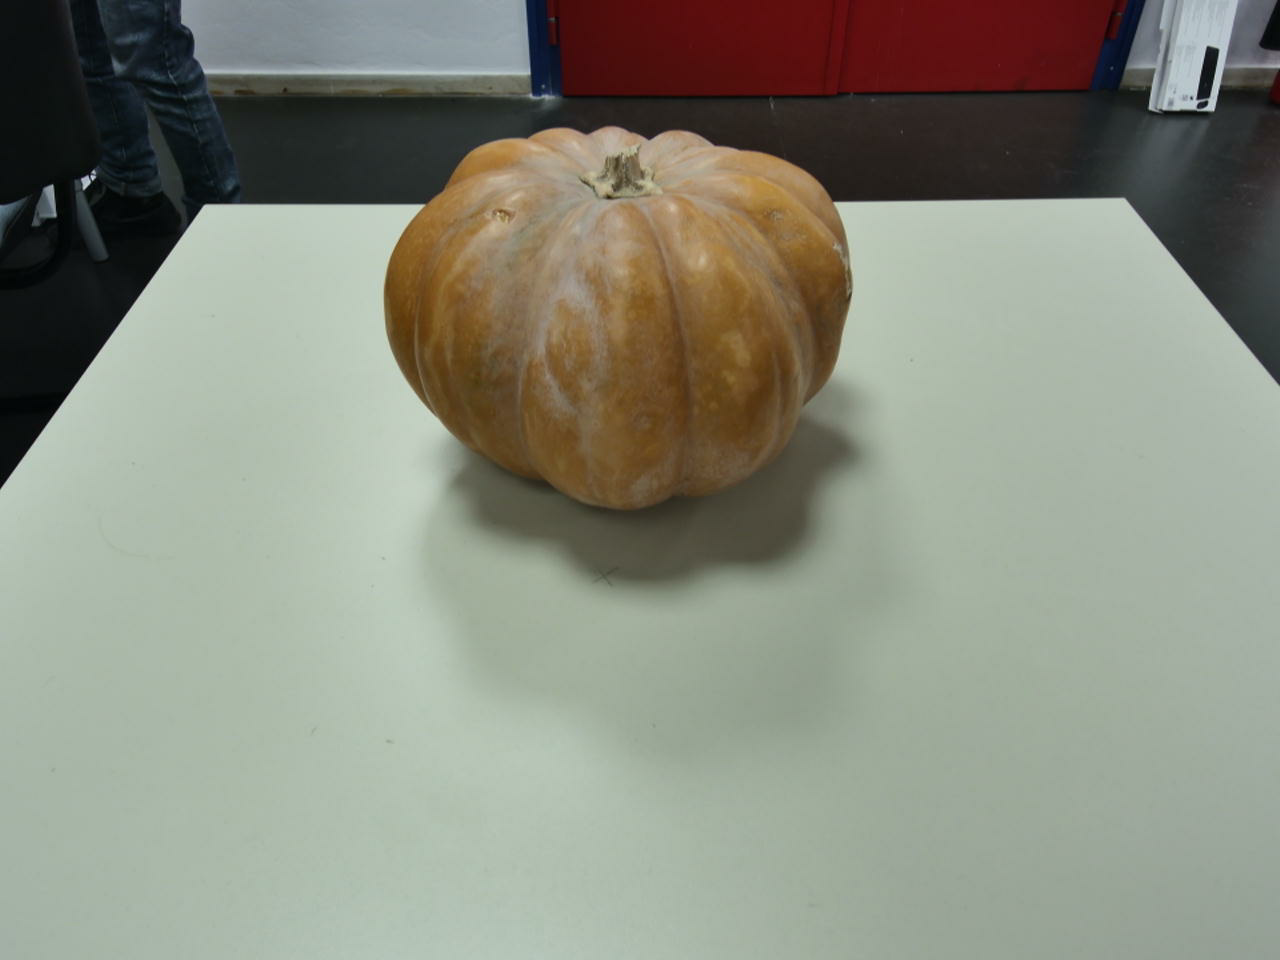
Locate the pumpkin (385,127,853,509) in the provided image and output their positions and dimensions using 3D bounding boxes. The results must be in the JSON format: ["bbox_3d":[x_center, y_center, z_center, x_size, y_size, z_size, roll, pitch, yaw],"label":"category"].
[{"bbox_3d":[-0.011,-0.101,0.580,0.277,0.181,0.277,0,39,0],"label":"pumpkin"}]
